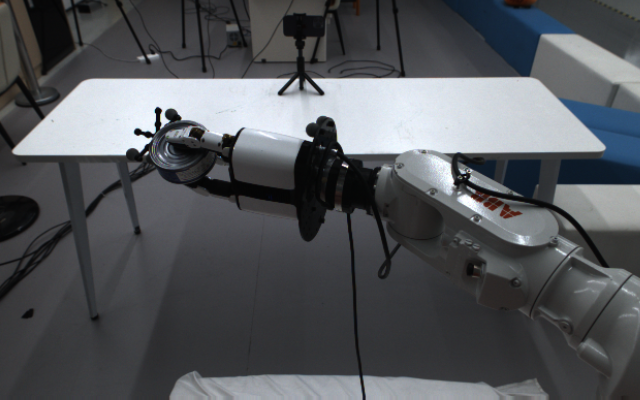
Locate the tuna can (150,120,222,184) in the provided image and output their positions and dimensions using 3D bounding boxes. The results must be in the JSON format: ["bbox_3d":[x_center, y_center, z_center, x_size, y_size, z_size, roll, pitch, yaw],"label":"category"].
[{"bbox_3d":[-0.184,-0.065,0.662,0.085,0.034,0.085,-1,64,1],"label":"tuna can"}]
